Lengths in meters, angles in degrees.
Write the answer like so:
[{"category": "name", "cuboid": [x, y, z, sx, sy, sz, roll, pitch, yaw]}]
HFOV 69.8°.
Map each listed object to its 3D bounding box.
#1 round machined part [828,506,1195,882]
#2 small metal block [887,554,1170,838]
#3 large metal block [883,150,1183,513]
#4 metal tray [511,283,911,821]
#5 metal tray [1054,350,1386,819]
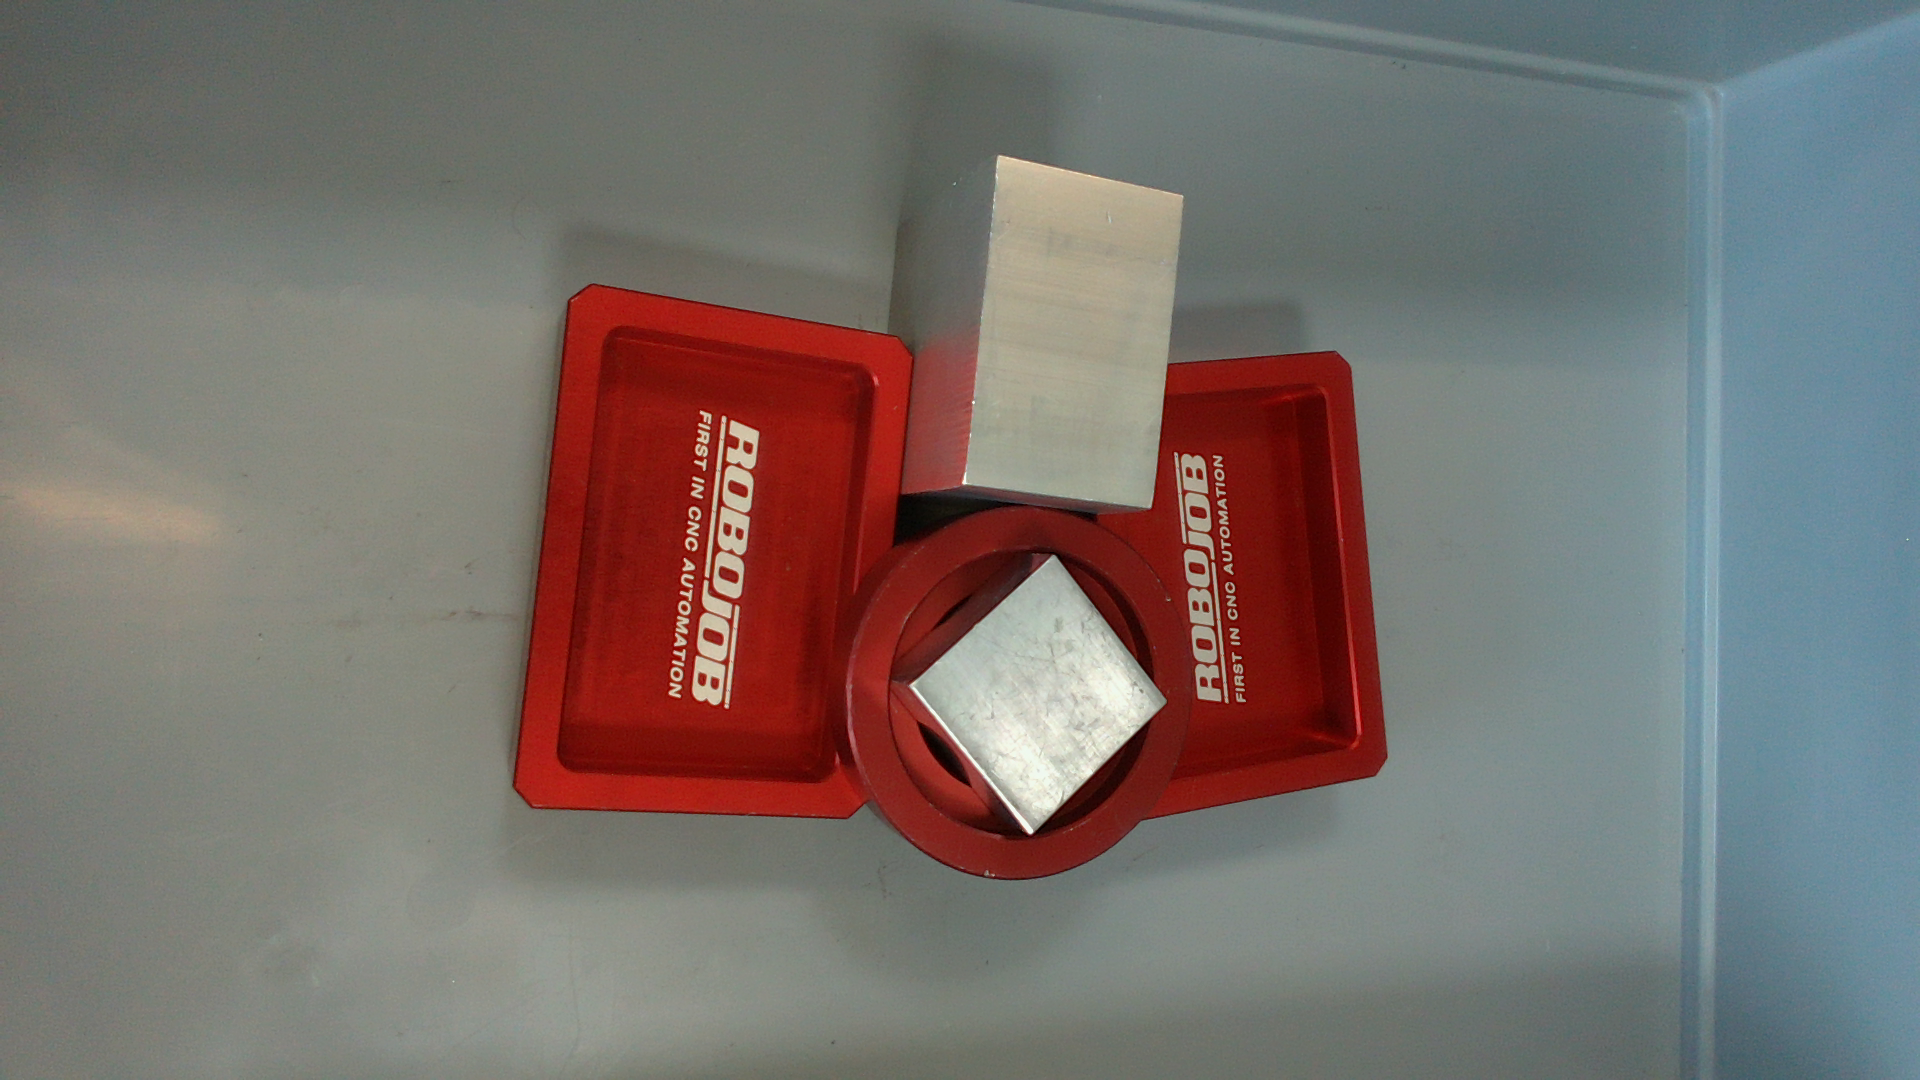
[{"category": "round machined part", "cuboid": [0.011, 0.040, 0.377, 0.098, 0.042, 0.098, 0, 90, -20]}, {"category": "small metal block", "cuboid": [0.017, 0.039, 0.354, 0.050, 0.025, 0.050, -41, 103, -15]}, {"category": "large metal block", "cuboid": [0.014, -0.049, 0.368, 0.050, 0.080, 0.080, 7, 88, -20]}, {"category": "metal tray", "cuboid": [-0.066, 0.005, 0.365, 0.090, 0.030, 0.130, 7, 88, -20]}, {"category": "metal tray", "cuboid": [0.078, 0.012, 0.418, 0.090, 0.030, 0.130, -7, 92, -20]}]
